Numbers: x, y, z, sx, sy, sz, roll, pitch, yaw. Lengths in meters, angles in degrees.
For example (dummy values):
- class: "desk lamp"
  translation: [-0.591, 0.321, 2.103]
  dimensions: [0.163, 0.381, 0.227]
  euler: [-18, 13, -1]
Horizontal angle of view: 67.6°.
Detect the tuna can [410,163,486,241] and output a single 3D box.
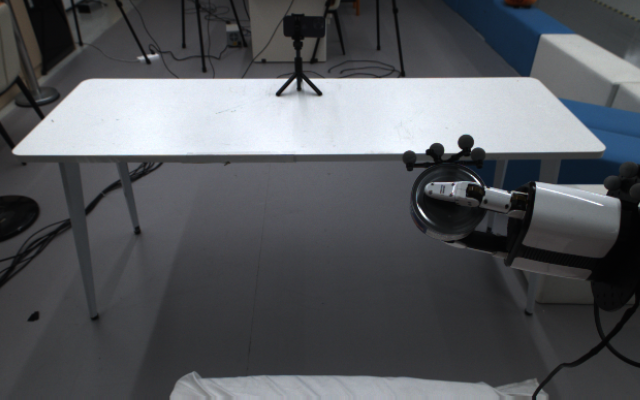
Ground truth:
- class: "tuna can"
  translation: [0.148, 0.001, 0.557]
  dimensions: [0.085, 0.034, 0.085]
  euler: [-2, 68, 6]
